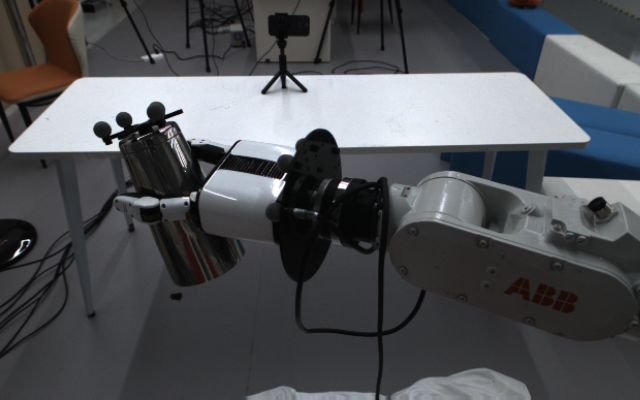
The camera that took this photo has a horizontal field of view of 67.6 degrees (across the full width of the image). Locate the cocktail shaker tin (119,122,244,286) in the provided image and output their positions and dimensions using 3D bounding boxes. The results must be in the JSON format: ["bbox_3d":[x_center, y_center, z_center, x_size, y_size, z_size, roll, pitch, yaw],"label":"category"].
[{"bbox_3d":[-0.159,0.003,0.551,0.093,0.170,0.093,-17,20,7],"label":"cocktail shaker tin"}]
